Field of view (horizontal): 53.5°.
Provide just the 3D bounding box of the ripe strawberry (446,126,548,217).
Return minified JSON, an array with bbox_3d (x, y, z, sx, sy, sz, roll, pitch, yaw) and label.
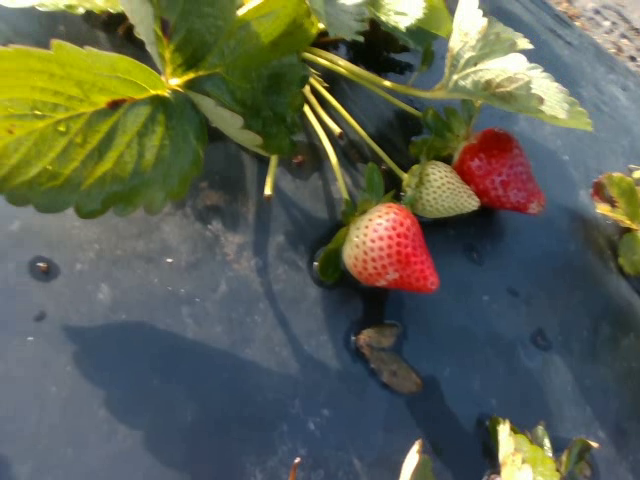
[{"bbox_3d":[0.102,-0.034,0.341,0.048,0.065,0.050,-43,6,6],"label":"ripe strawberry"}]
